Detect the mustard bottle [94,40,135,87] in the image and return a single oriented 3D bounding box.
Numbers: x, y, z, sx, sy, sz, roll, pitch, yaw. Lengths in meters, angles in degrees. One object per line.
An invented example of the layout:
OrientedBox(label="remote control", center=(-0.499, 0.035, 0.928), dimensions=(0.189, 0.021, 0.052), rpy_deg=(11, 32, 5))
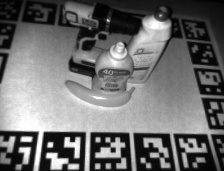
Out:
OrientedBox(label="mustard bottle", center=(0.009, -0.062, 0.549), dimensions=(0.096, 0.191, 0.058), rpy_deg=(4, 62, -9))

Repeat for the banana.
OrientedBox(label="banana", center=(-0.024, 0.002, 0.608), dimensions=(0.198, 0.039, 0.074), rpy_deg=(7, 63, -5))

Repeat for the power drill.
OrientedBox(label="power drill", center=(-0.027, -0.137, 0.557), dimensions=(0.185, 0.187, 0.057), rpy_deg=(15, 60, -4))

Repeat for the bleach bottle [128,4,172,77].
OrientedBox(label="bleach bottle", center=(0.083, -0.119, 0.566), dimensions=(0.103, 0.251, 0.067), rpy_deg=(6, 56, -7))
